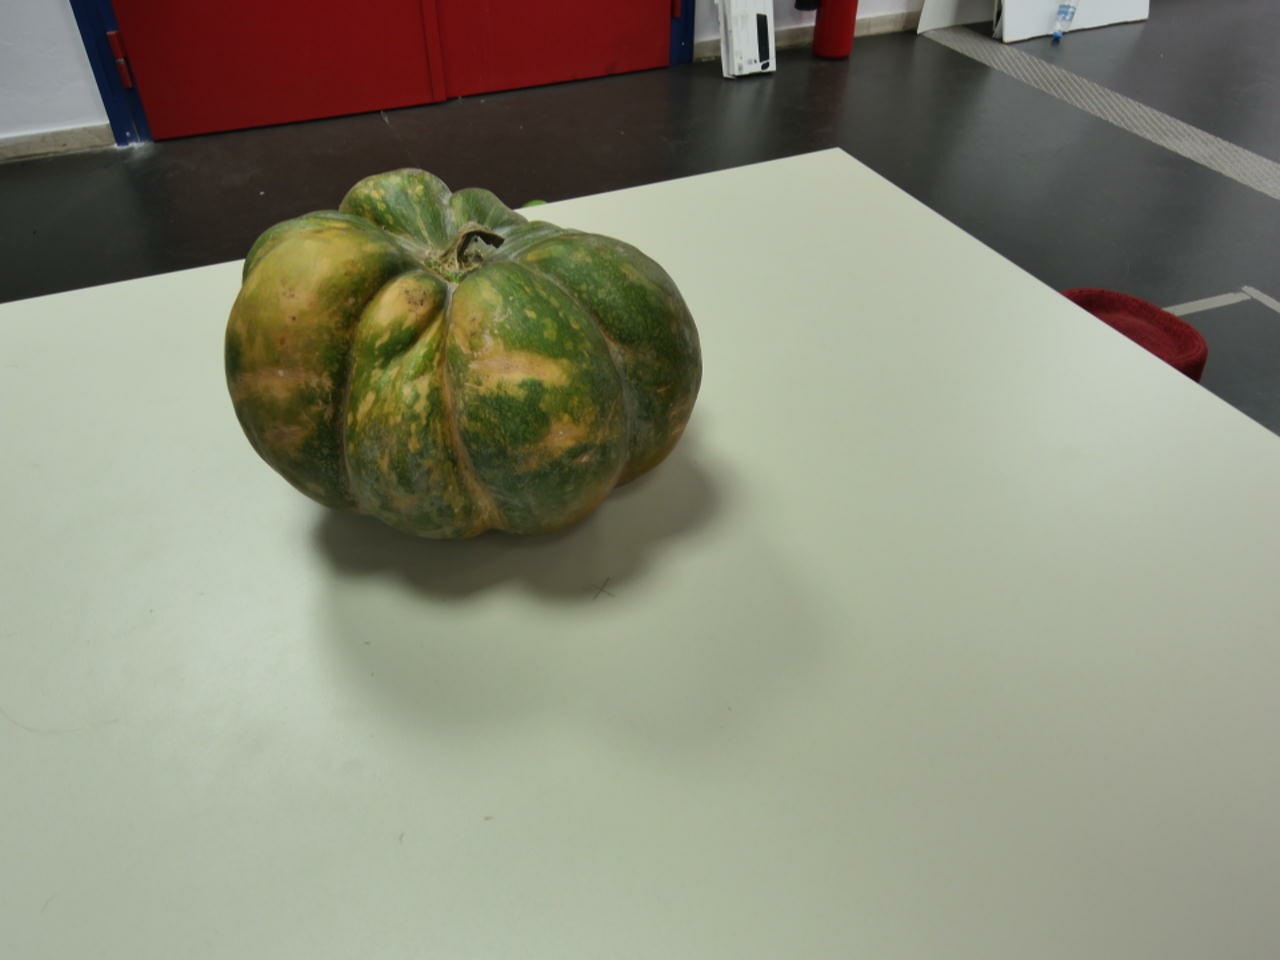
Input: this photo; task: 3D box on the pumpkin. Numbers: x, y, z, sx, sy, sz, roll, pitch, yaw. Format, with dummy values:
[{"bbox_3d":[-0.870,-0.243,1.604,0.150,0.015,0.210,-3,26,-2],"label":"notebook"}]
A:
[{"bbox_3d":[-0.099,-0.076,0.562,0.270,0.173,0.237,8,40,9],"label":"pumpkin"}]
